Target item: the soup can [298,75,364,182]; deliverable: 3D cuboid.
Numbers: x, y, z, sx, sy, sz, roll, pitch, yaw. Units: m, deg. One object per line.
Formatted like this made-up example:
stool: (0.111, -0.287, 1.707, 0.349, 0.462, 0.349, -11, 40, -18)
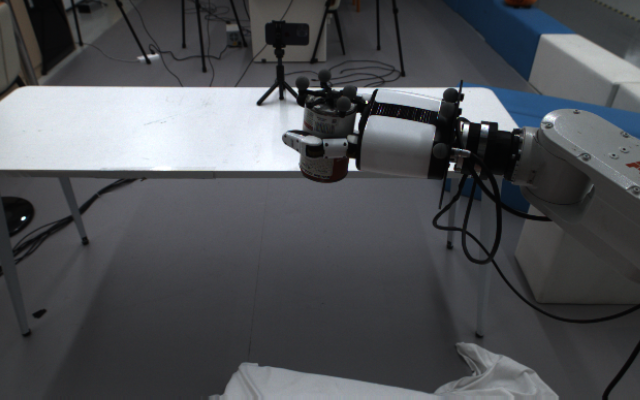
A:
soup can: (0.010, -0.082, 0.631, 0.067, 0.101, 0.067, 5, 37, -4)
